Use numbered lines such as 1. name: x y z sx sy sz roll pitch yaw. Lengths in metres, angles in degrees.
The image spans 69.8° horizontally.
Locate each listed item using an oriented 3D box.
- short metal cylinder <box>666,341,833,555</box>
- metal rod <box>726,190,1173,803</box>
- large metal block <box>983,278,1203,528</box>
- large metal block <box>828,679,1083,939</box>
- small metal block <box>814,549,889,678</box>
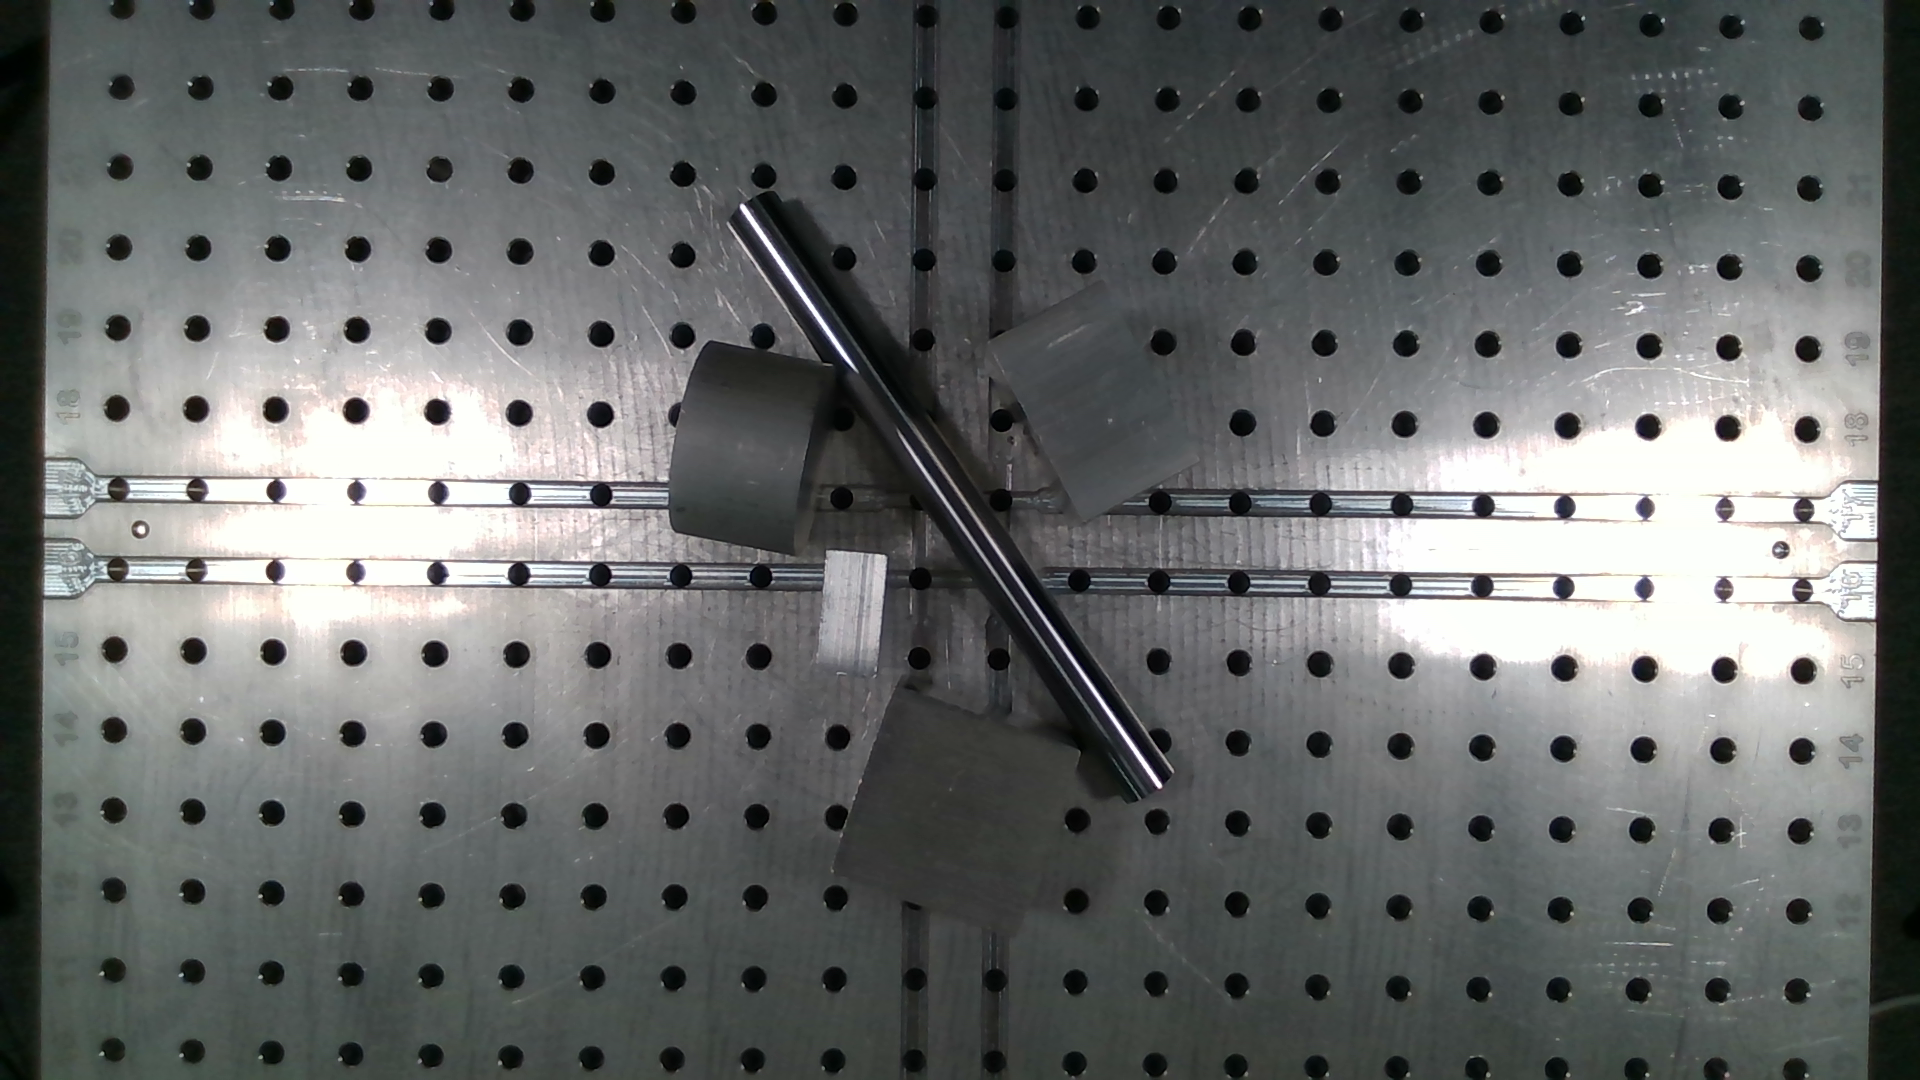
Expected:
1. short metal cylinder: -0.084 -0.037 0.561 0.050 0.080 0.080 12 90 0
2. metal rod: -0.004 -0.018 0.589 0.025 0.025 0.300 -35 90 0
3. large metal block: 0.051 -0.052 0.562 0.050 0.080 0.080 -29 90 0
4. large metal block: -0.002 0.109 0.575 0.080 0.050 0.080 19 90 0
5. small metal block: -0.044 0.029 0.577 0.025 0.050 0.050 5 90 0
